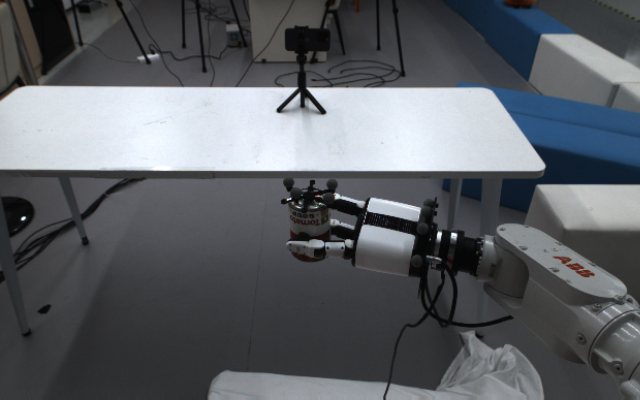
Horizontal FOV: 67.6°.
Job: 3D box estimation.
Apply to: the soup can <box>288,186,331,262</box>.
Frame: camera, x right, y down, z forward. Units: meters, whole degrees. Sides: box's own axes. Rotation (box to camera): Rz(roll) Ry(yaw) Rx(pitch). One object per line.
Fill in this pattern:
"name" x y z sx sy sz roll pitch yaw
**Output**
"soup can" -0.015 0.039 0.774 0.067 0.101 0.067 -2 33 1
